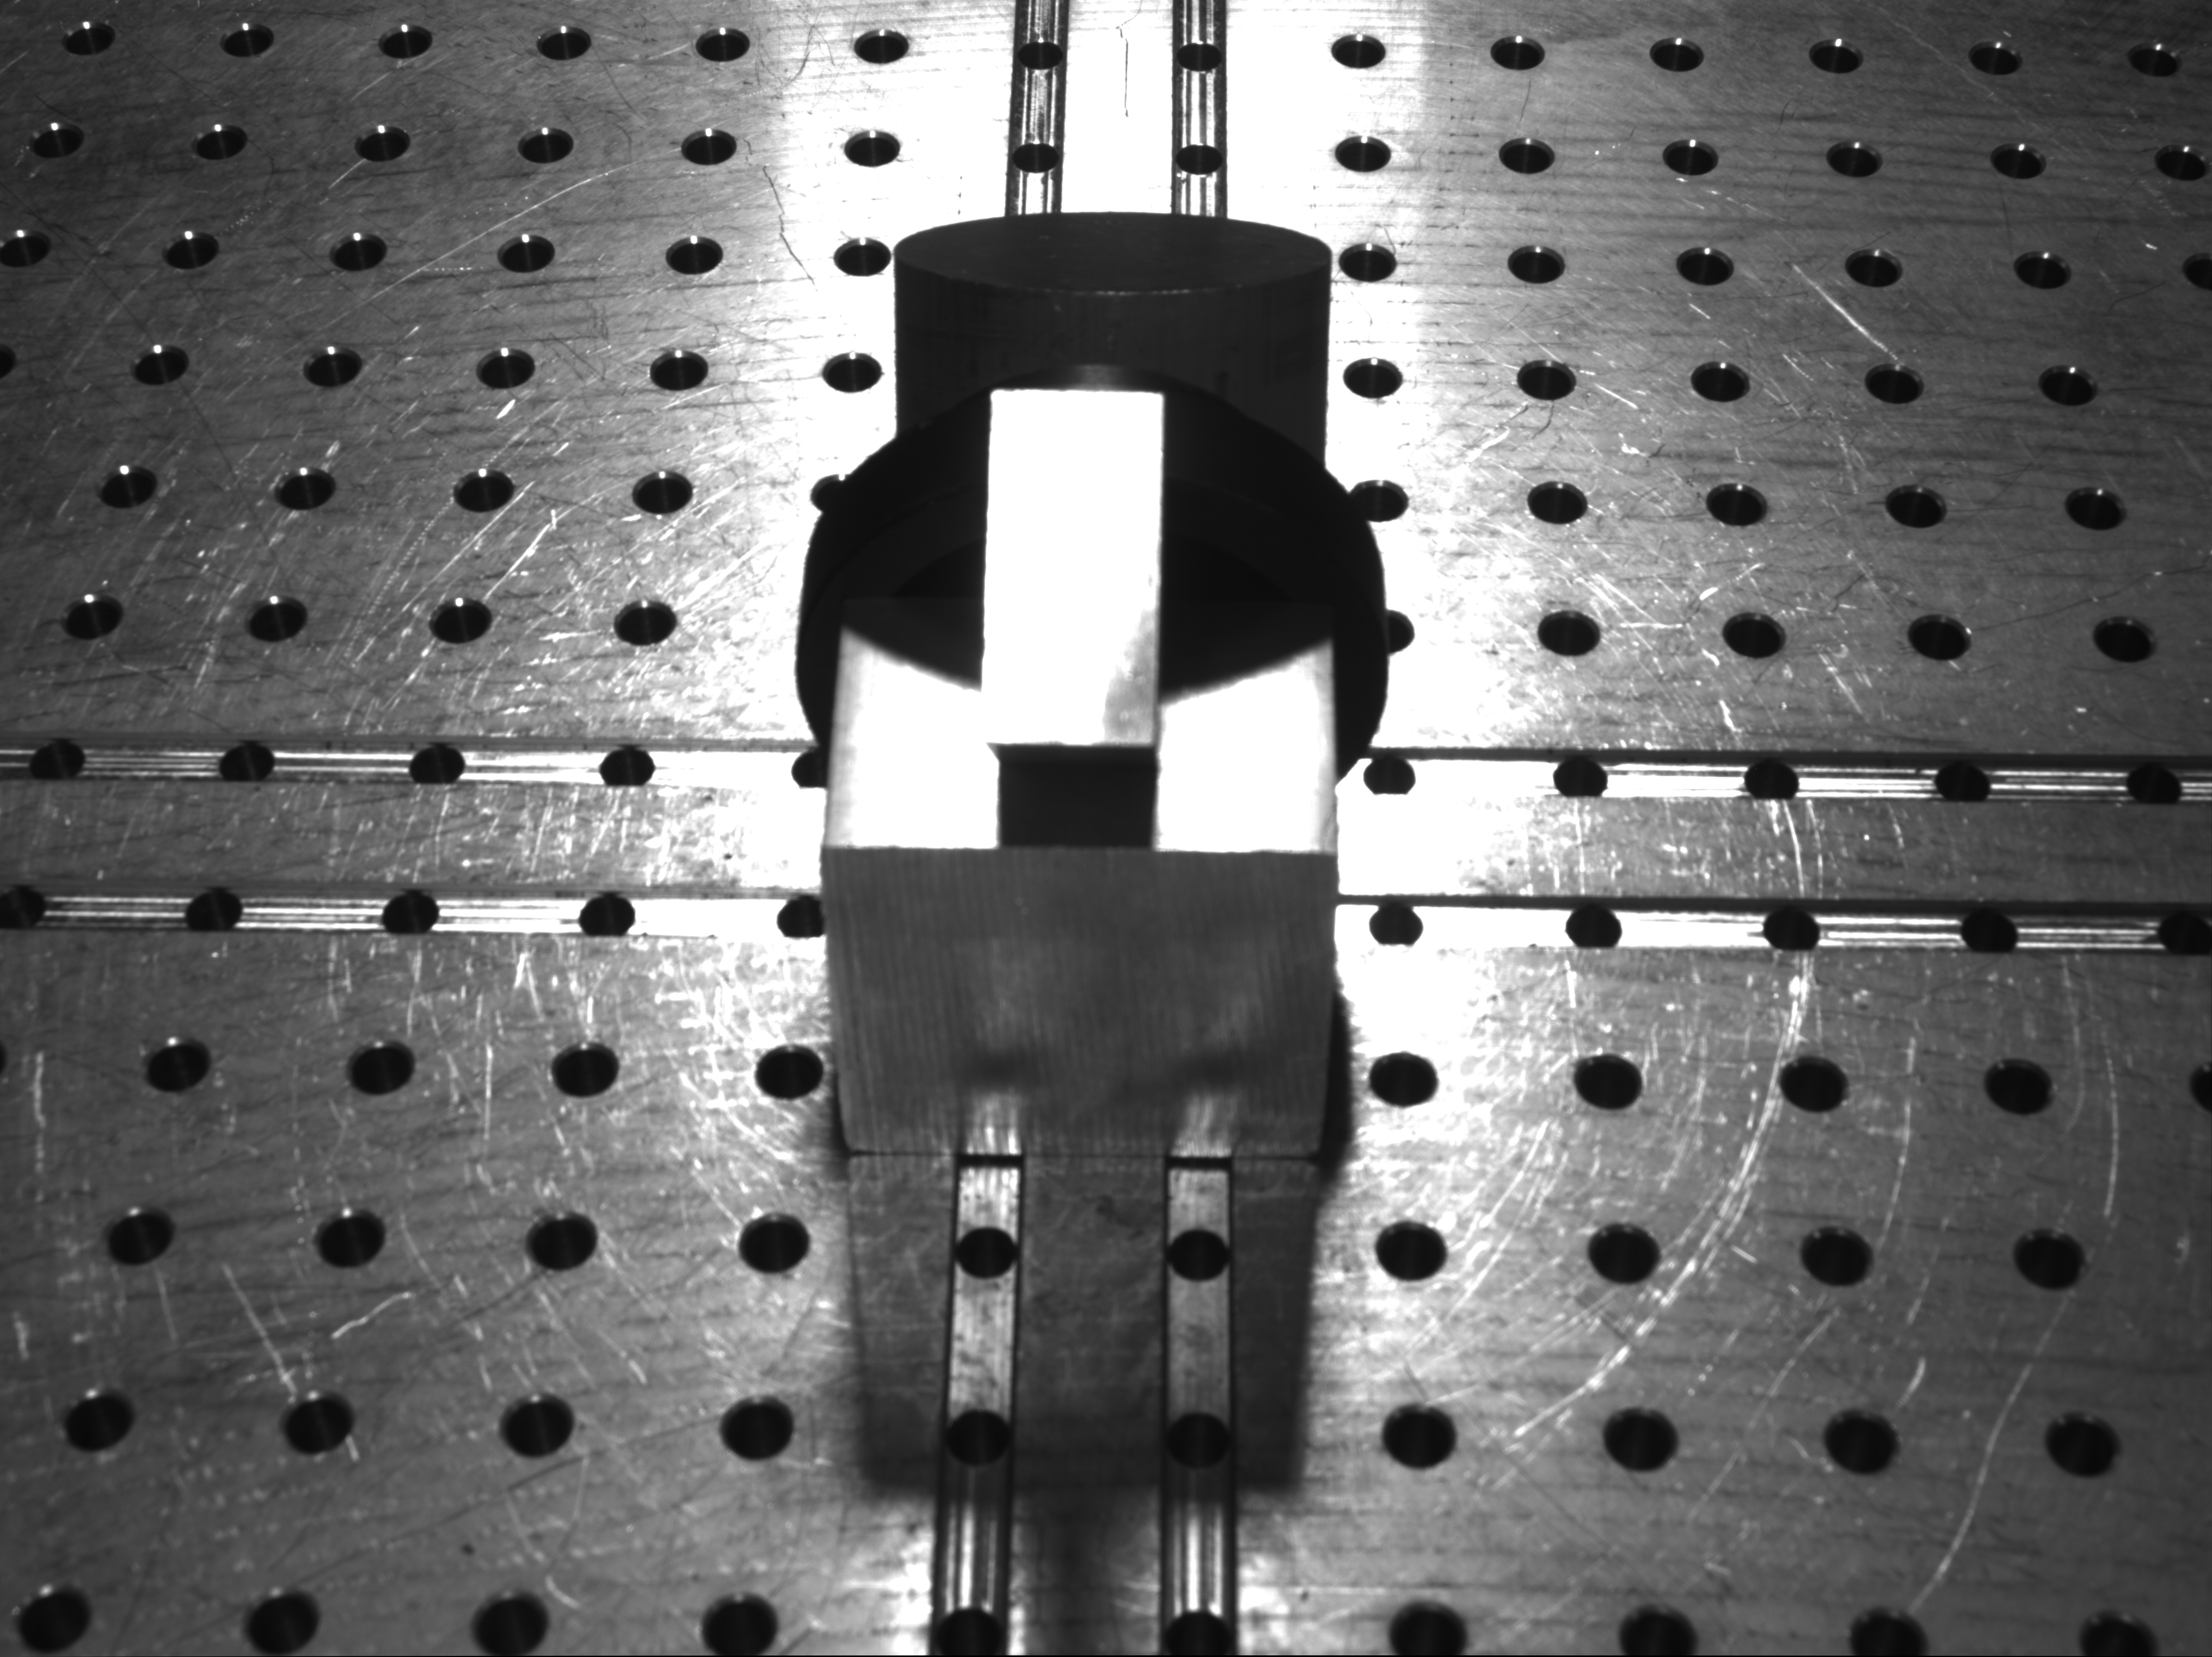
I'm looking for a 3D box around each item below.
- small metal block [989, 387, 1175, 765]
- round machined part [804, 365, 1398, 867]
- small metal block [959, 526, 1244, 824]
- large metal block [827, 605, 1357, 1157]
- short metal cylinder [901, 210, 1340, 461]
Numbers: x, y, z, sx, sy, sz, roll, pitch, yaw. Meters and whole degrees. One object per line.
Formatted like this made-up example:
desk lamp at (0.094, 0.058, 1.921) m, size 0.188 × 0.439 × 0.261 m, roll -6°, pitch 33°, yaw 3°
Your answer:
small metal block at (-0.003, -0.036, 0.540) m, size 0.025 × 0.050 × 0.050 m, roll 1°, pitch 88°, yaw 1°
round machined part at (0.000, -0.039, 0.617) m, size 0.098 × 0.098 × 0.042 m, roll 1°, pitch 50°, yaw 1°
small metal block at (0.000, -0.028, 0.668) m, size 0.050 × 0.025 × 0.050 m, roll 1°, pitch 50°, yaw 1°
large metal block at (-0.001, 0.010, 0.600) m, size 0.080 × 0.080 × 0.050 m, roll 1°, pitch 50°, yaw 1°
short metal cylinder at (0.002, -0.082, 0.676) m, size 0.080 × 0.050 × 0.080 m, roll 1°, pitch 20°, yaw 0°
